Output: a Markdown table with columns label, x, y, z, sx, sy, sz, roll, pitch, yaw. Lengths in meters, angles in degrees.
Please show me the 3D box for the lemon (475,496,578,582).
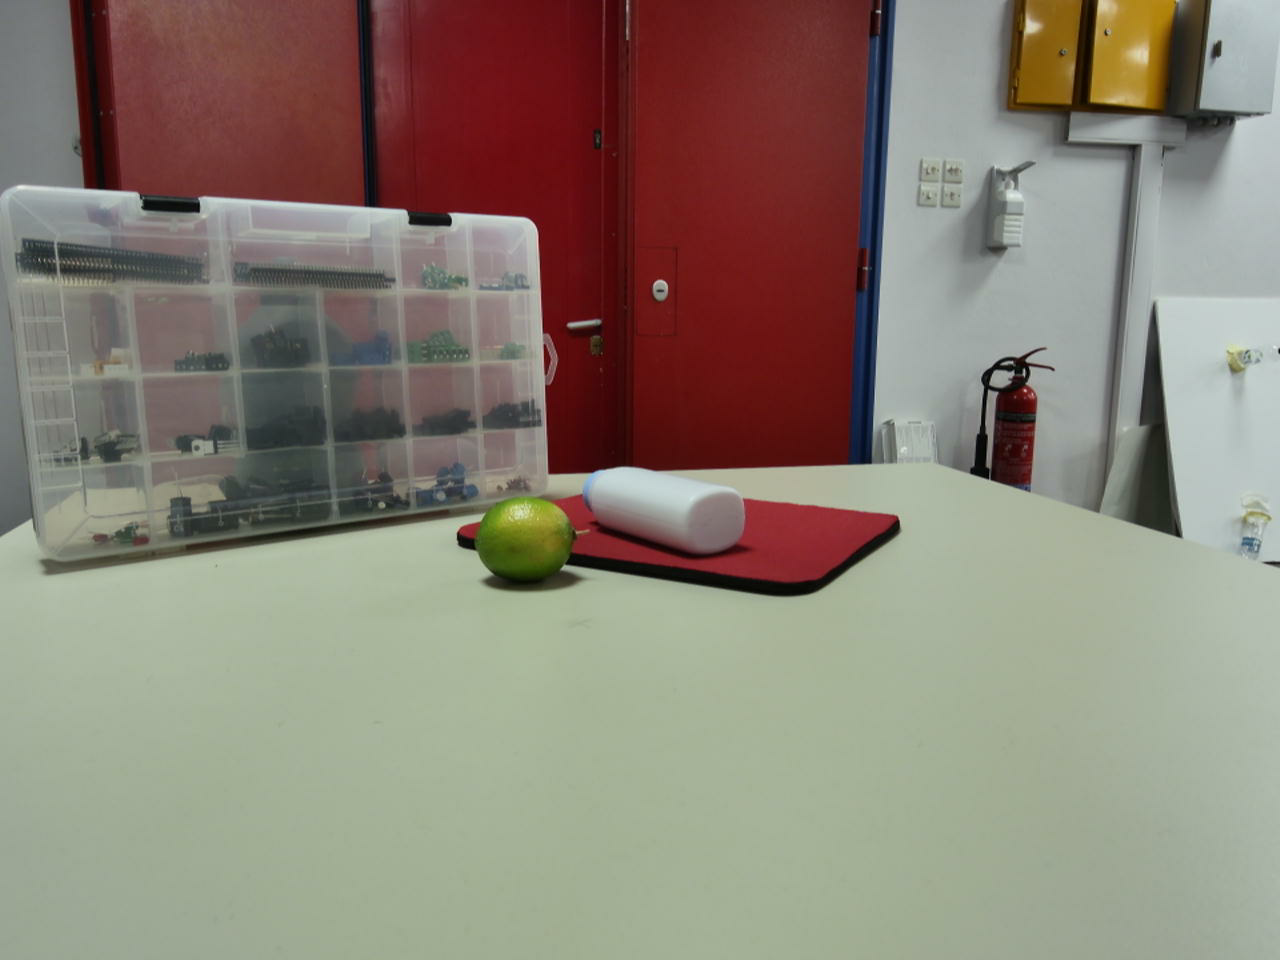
| label | x | y | z | sx | sy | sz | roll | pitch | yaw |
| --- | --- | --- | --- | --- | --- | --- | --- | --- | --- |
| lemon | -0.069 | 0.035 | 0.599 | 0.055 | 0.050 | 0.054 | 5 | 10 | 37 |
